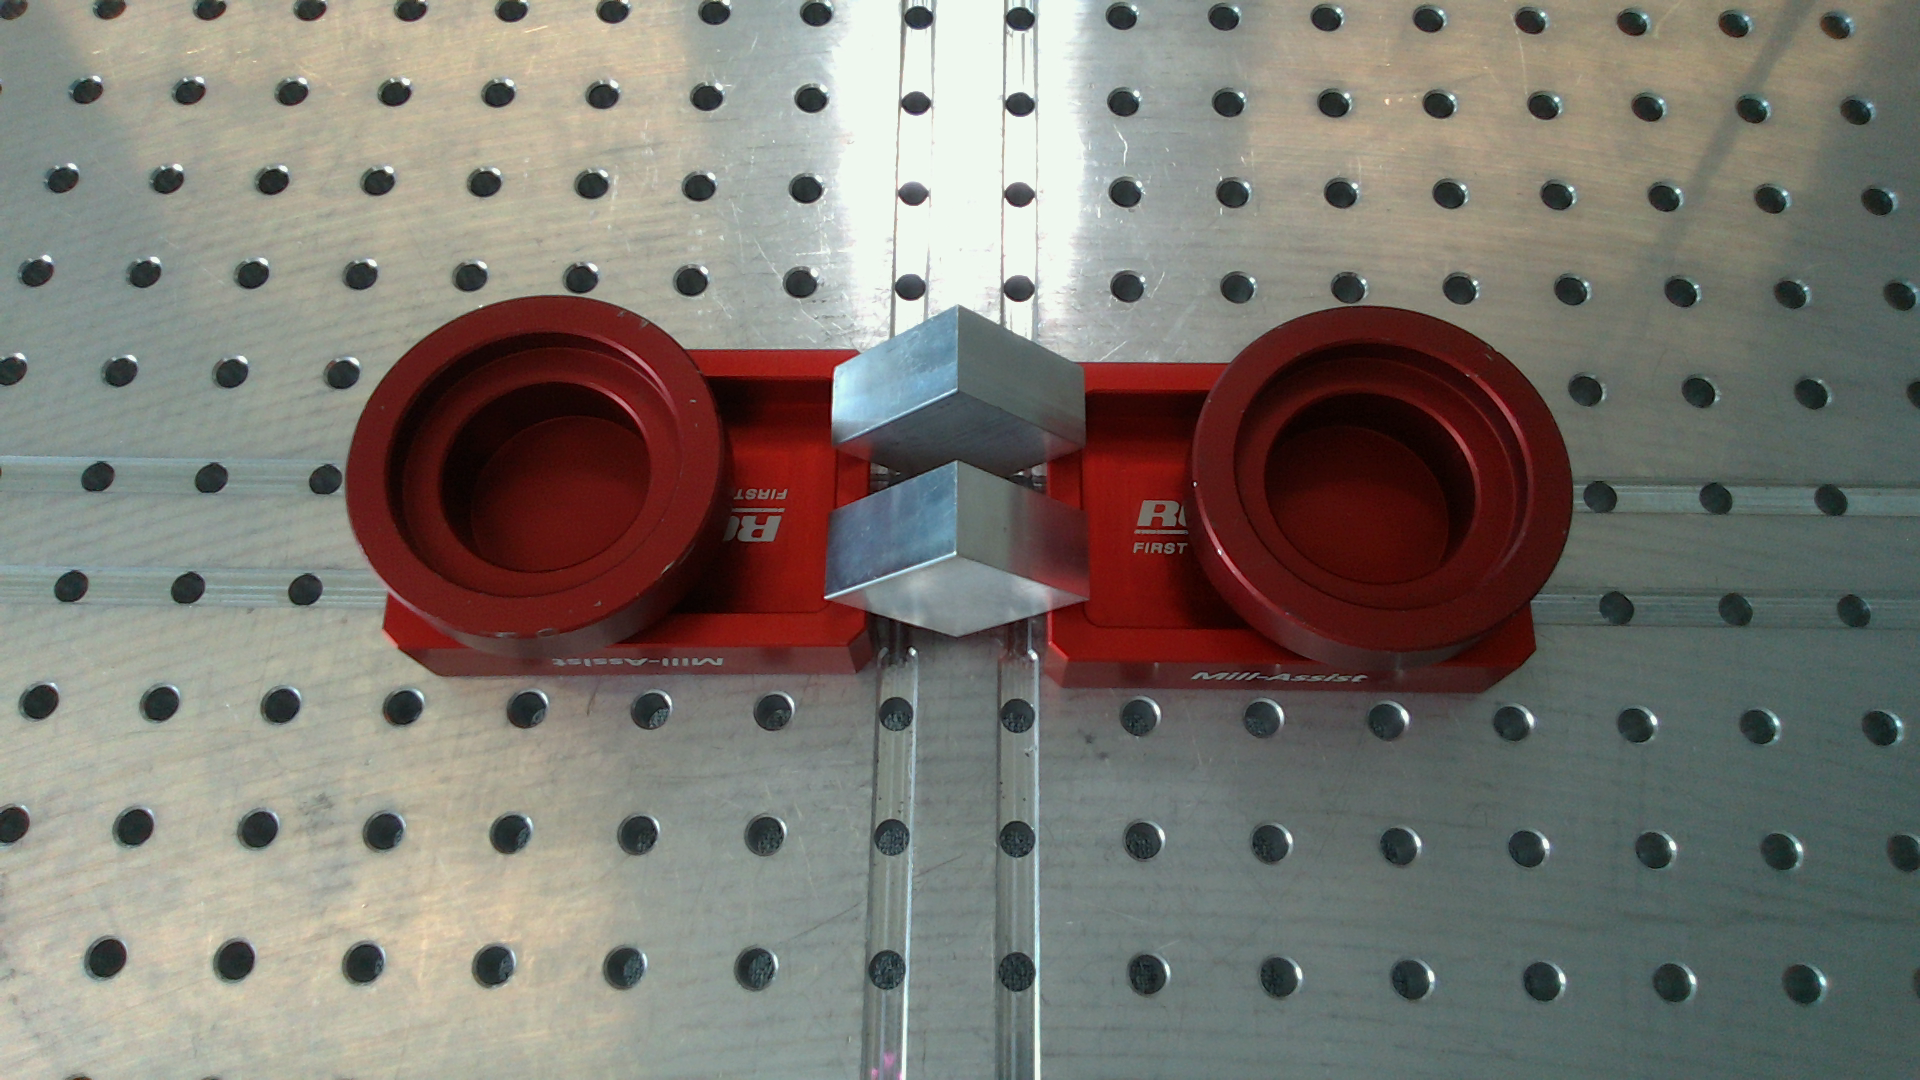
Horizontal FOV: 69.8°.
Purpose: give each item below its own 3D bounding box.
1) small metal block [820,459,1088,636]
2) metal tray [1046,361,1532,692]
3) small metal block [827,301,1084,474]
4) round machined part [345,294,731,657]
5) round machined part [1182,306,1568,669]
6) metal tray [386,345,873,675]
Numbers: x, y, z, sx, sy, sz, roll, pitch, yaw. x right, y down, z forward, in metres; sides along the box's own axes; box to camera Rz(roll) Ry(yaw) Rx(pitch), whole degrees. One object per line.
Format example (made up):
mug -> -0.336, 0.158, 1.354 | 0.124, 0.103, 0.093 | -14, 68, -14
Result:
small metal block -> -0.001, 0.004, 0.367 | 0.050, 0.050, 0.025 | -18, 63, 41
metal tray -> 0.089, -0.004, 0.397 | 0.130, 0.030, 0.090 | 1, 70, 0
small metal block -> -0.001, -0.038, 0.382 | 0.050, 0.050, 0.025 | -18, 63, 41
round machined part -> -0.112, -0.015, 0.380 | 0.098, 0.042, 0.098 | 0, 70, 0
round machined part -> 0.110, -0.011, 0.379 | 0.098, 0.042, 0.098 | 0, 70, 0
metal tray -> -0.091, -0.009, 0.398 | 0.130, 0.030, 0.090 | -1, 72, 0
